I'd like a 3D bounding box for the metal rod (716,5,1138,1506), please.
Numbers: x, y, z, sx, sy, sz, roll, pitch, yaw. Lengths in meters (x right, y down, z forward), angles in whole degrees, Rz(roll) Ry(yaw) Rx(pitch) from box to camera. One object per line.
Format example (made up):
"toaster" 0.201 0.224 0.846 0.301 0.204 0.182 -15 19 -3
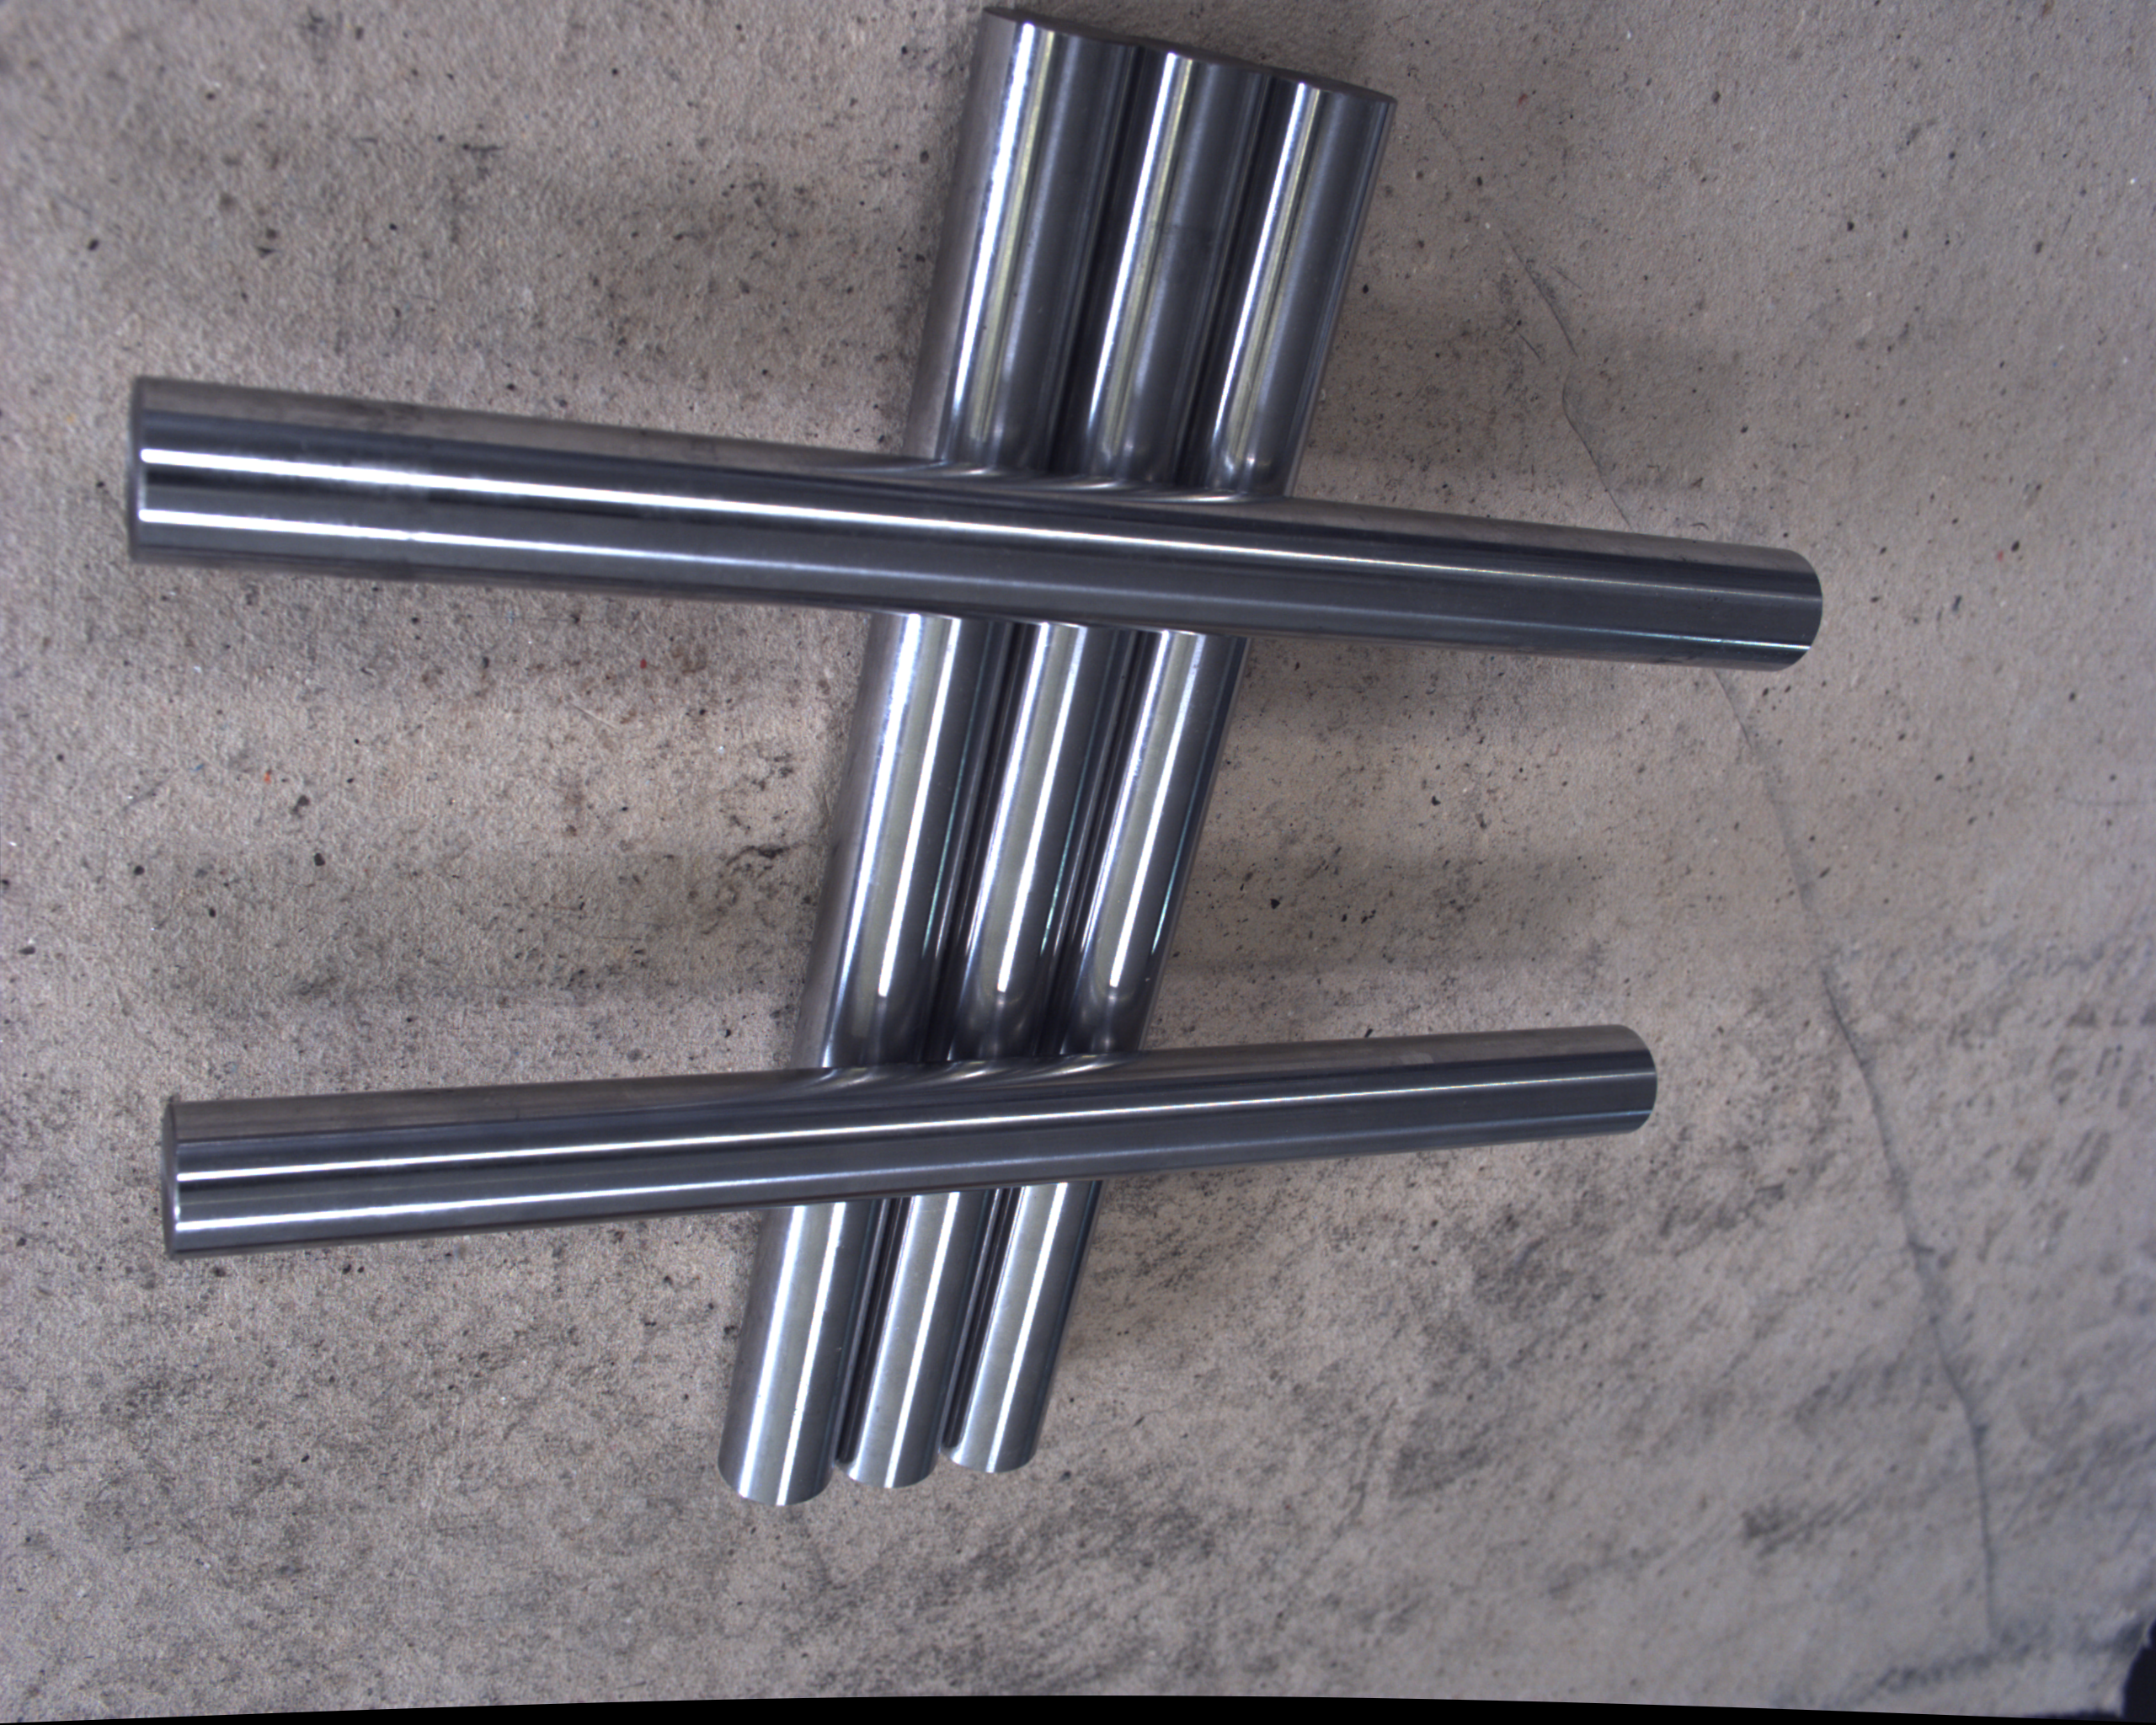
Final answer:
"metal rod" -0.034 0.000 0.389 0.025 0.025 0.298 -1 119 -28

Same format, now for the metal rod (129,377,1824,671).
"metal rod" 0.008 -0.051 0.348 0.303 0.025 0.025 0 118 -29

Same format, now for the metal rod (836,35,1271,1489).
"metal rod" -0.012 0.000 0.401 0.025 0.025 0.298 -1 119 -28

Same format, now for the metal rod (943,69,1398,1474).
"metal rod" 0.010 0.000 0.414 0.025 0.025 0.298 -1 119 -28

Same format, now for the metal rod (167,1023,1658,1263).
"metal rod" -0.010 0.050 0.401 0.303 0.025 0.025 0 119 -29
